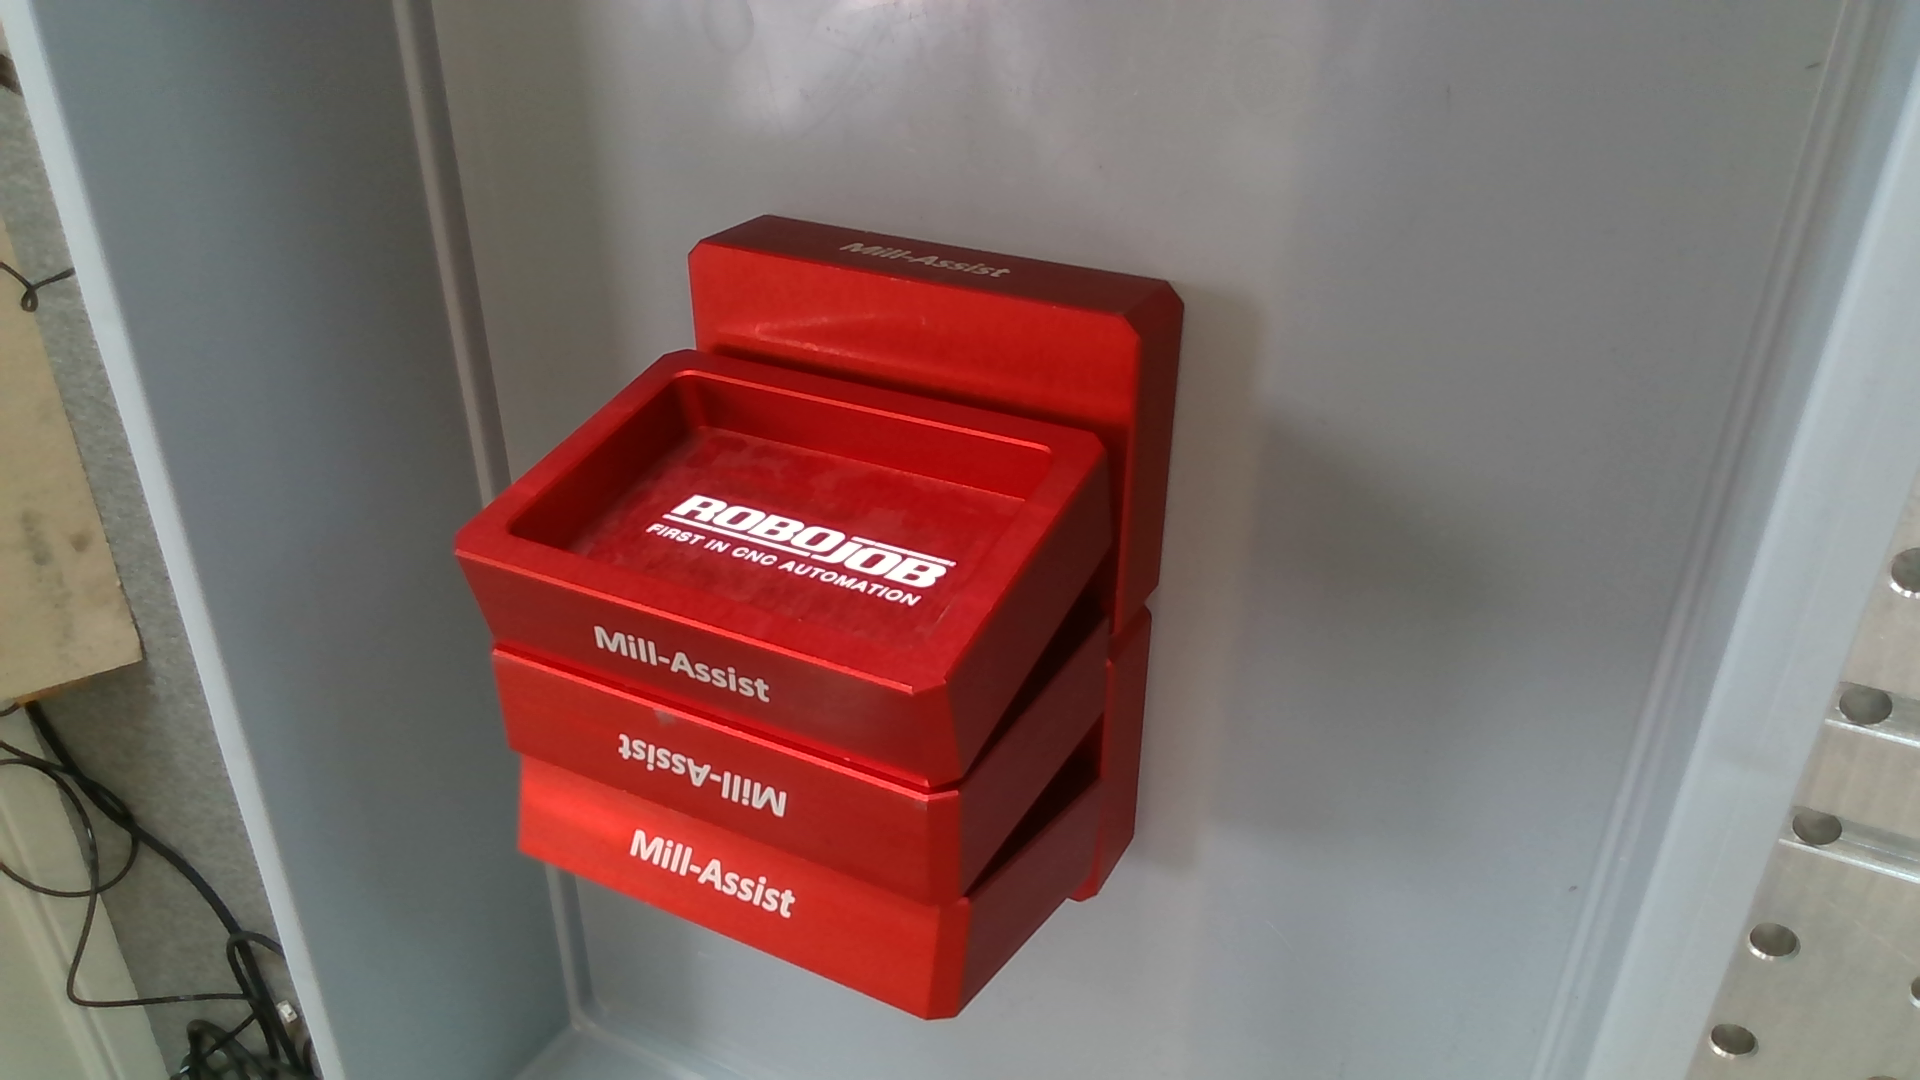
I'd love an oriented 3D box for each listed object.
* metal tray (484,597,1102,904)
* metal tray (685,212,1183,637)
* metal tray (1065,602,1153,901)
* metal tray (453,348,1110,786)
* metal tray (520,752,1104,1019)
[{"bbox_3d":[-0.040,0.034,0.348,0.130,0.090,0.030,13,121,23],"label":"metal tray"},{"bbox_3d":[-0.010,-0.033,0.371,0.130,0.030,0.090,15,122,25],"label":"metal tray"},{"bbox_3d":[-0.011,0.046,0.416,0.130,0.030,0.090,15,122,25],"label":"metal tray"},{"bbox_3d":[-0.041,-0.001,0.328,0.130,0.090,0.030,14,134,25],"label":"metal tray"},{"bbox_3d":[-0.039,0.071,0.366,0.130,0.090,0.030,14,107,25],"label":"metal tray"}]
